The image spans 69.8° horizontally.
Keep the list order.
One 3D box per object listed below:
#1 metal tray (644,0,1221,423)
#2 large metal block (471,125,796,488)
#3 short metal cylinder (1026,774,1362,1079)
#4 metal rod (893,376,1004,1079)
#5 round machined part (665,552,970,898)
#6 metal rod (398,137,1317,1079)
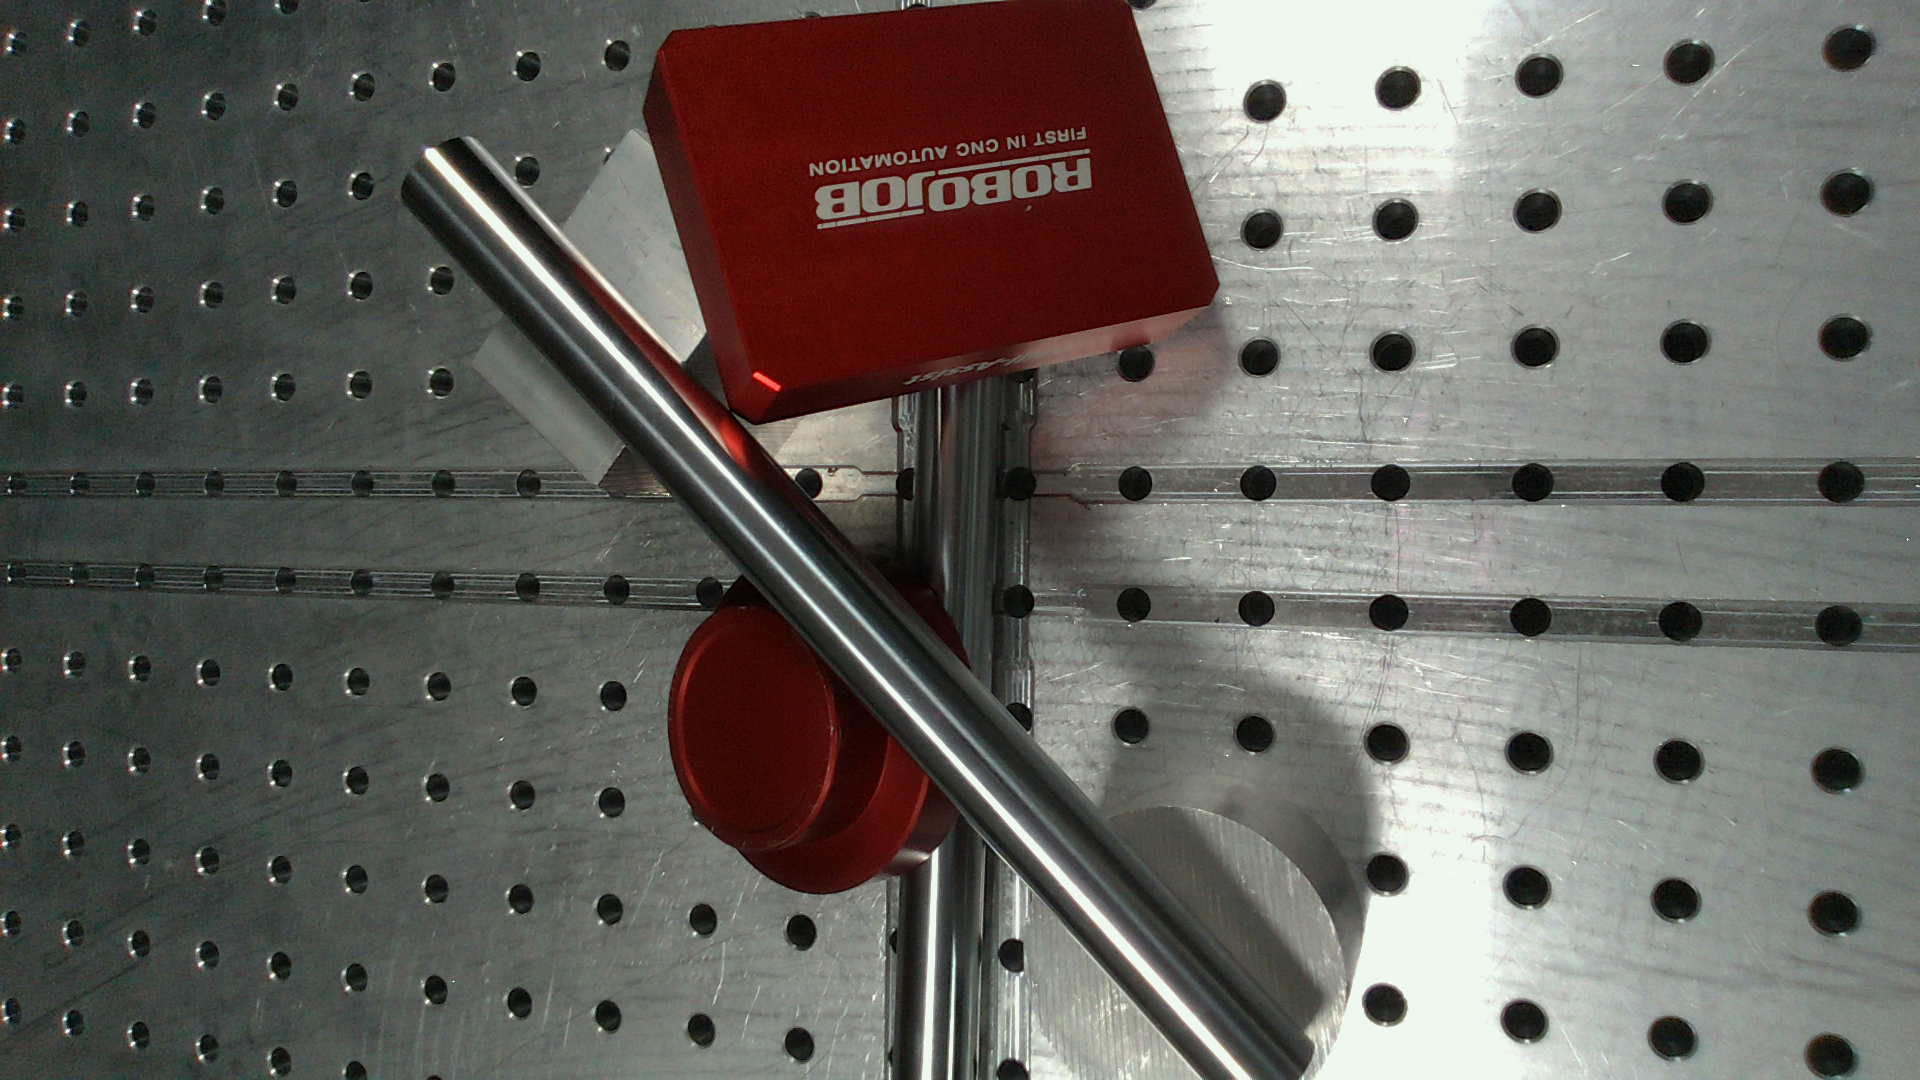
[{"bbox_3d":[-0.005,-0.088,0.356,0.130,0.030,0.090,-14,83,-23],"label":"metal tray"},{"bbox_3d":[-0.078,-0.061,0.398,0.050,0.080,0.080,43,104,15],"label":"large metal block"},{"bbox_3d":[0.063,0.106,0.363,0.080,0.050,0.080,0,90,20],"label":"short metal cylinder"},{"bbox_3d":[-0.002,0.023,0.399,0.025,0.025,0.300,2,91,20],"label":"metal rod"},{"bbox_3d":[-0.045,0.052,0.389,0.098,0.042,0.098,0,90,37],"label":"round machined part"},{"bbox_3d":[-0.029,0.016,0.334,0.025,0.025,0.300,-45,84,15],"label":"metal rod"}]
